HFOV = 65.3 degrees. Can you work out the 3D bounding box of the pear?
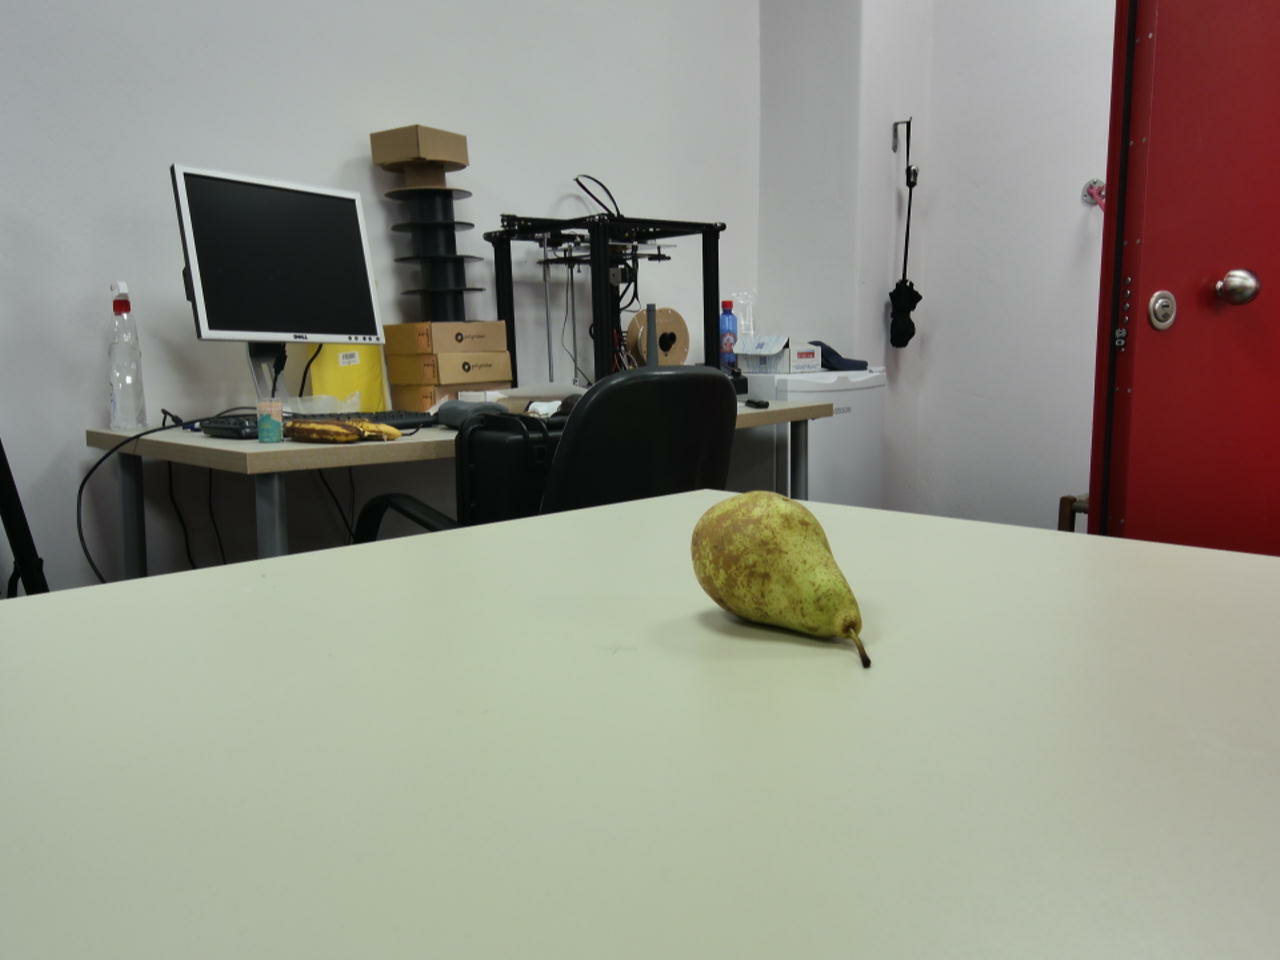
[{"bbox_3d":[0.082,0.046,0.542,0.128,0.075,0.071,6,7,39],"label":"pear"}]
